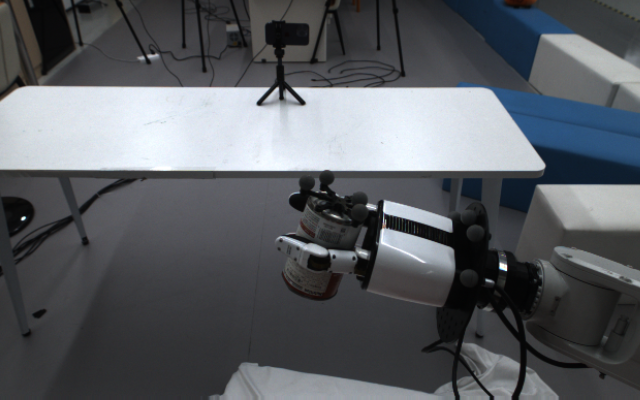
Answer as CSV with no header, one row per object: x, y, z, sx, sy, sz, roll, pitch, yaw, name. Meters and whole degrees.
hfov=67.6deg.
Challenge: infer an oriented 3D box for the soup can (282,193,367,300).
0.005,0.052,0.543,0.067,0.101,0.067,17,21,-7,soup can
